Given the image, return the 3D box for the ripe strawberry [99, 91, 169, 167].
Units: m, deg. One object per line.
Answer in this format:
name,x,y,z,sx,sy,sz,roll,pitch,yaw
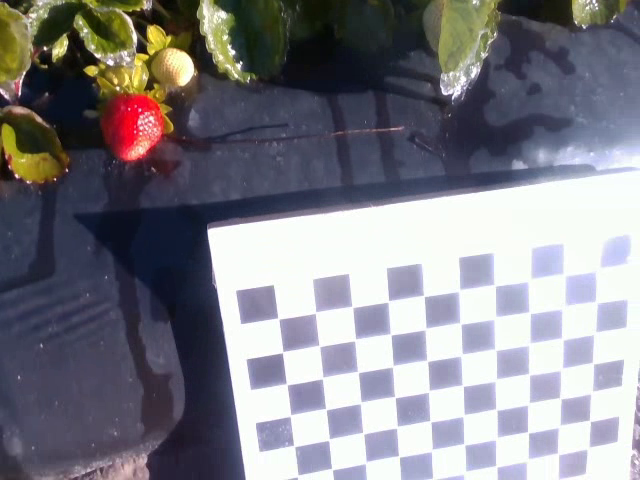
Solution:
ripe strawberry,-0.087,-0.048,0.283,0.039,0.040,0.039,-14,43,7
